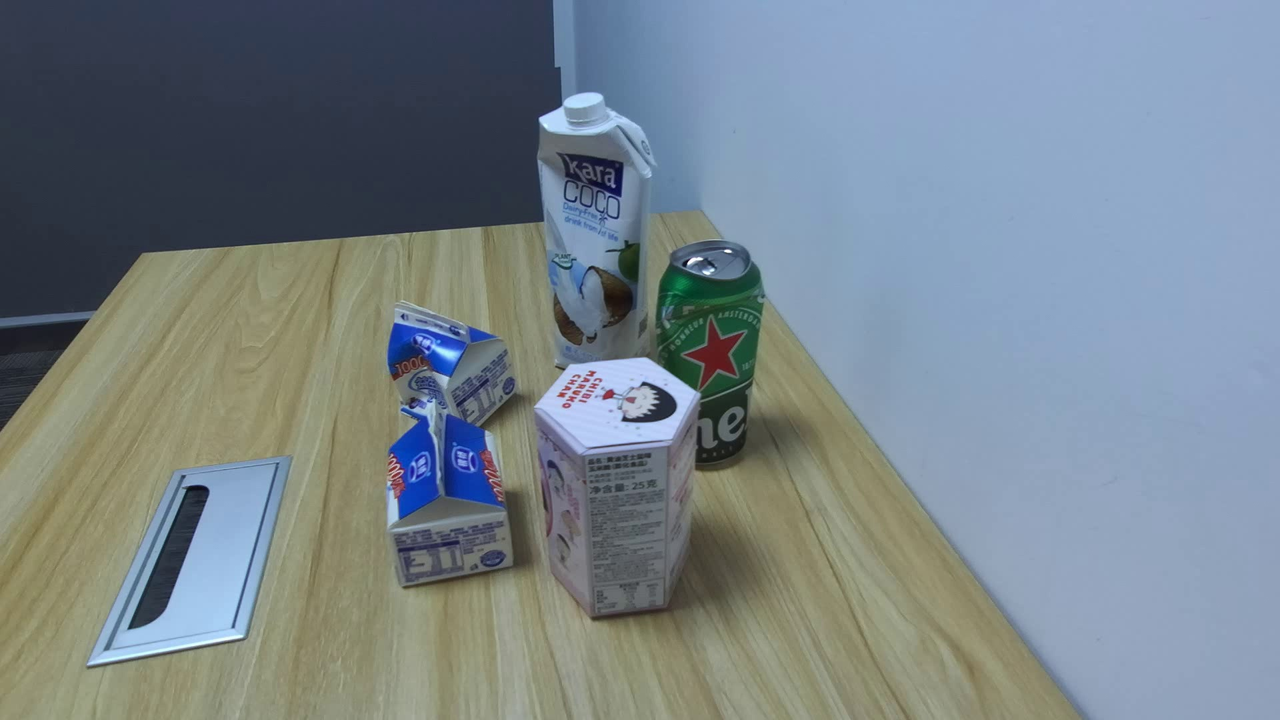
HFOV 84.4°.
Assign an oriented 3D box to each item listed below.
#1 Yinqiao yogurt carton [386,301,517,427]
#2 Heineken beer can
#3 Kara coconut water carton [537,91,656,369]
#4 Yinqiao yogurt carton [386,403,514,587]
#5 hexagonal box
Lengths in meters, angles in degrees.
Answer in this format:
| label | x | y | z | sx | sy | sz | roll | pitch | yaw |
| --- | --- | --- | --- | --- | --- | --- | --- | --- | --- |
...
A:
| label | x | y | z | sx | sy | sz | roll | pitch | yaw |
| --- | --- | --- | --- | --- | --- | --- | --- | --- | --- |
| Yinqiao yogurt carton | -0.155 | 0.000 | 0.566 | 0.077 | 0.094 | 0.071 | 19 | 43 | 25 |
| Heineken beer can | 0.051 | -0.001 | 0.510 | 0.077 | 0.164 | 0.066 | -3 | 34 | 0 |
| Kara coconut water carton | -0.035 | -0.095 | 0.577 | 0.114 | 0.239 | 0.069 | 18 | 40 | 25 |
| Yinqiao yogurt carton | -0.124 | 0.082 | 0.451 | 0.074 | 0.092 | 0.075 | -8 | 36 | -13 |
| hexagonal box | -0.013 | 0.077 | 0.419 | 0.083 | 0.136 | 0.091 | 13 | 36 | 17 |
